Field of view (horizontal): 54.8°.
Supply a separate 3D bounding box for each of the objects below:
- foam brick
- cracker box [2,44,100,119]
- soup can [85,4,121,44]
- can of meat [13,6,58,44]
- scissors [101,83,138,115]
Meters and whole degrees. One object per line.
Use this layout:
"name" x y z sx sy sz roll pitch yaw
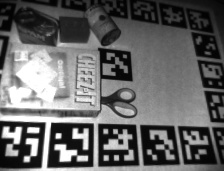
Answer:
"foam brick" -0.106 -0.164 0.609 0.079 0.051 0.052 -6 72 -18
"cracker box" -0.138 -0.015 0.514 0.215 0.072 0.163 -2 69 -13
"soup can" -0.026 -0.184 0.639 0.068 0.068 0.101 -34 77 -24
"can of meat" -0.193 -0.147 0.556 0.102 0.083 0.058 17 66 -9
"scissors" -0.033 0.037 0.560 0.204 0.016 0.087 -1 70 -16
